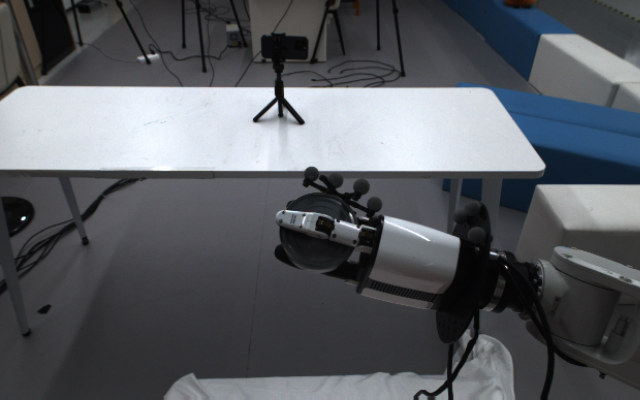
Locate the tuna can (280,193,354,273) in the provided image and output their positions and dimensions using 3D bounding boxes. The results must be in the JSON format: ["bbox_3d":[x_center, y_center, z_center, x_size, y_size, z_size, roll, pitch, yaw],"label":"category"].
[{"bbox_3d":[0.001,0.035,0.534,0.085,0.034,0.085,0,72,0],"label":"tuna can"}]
